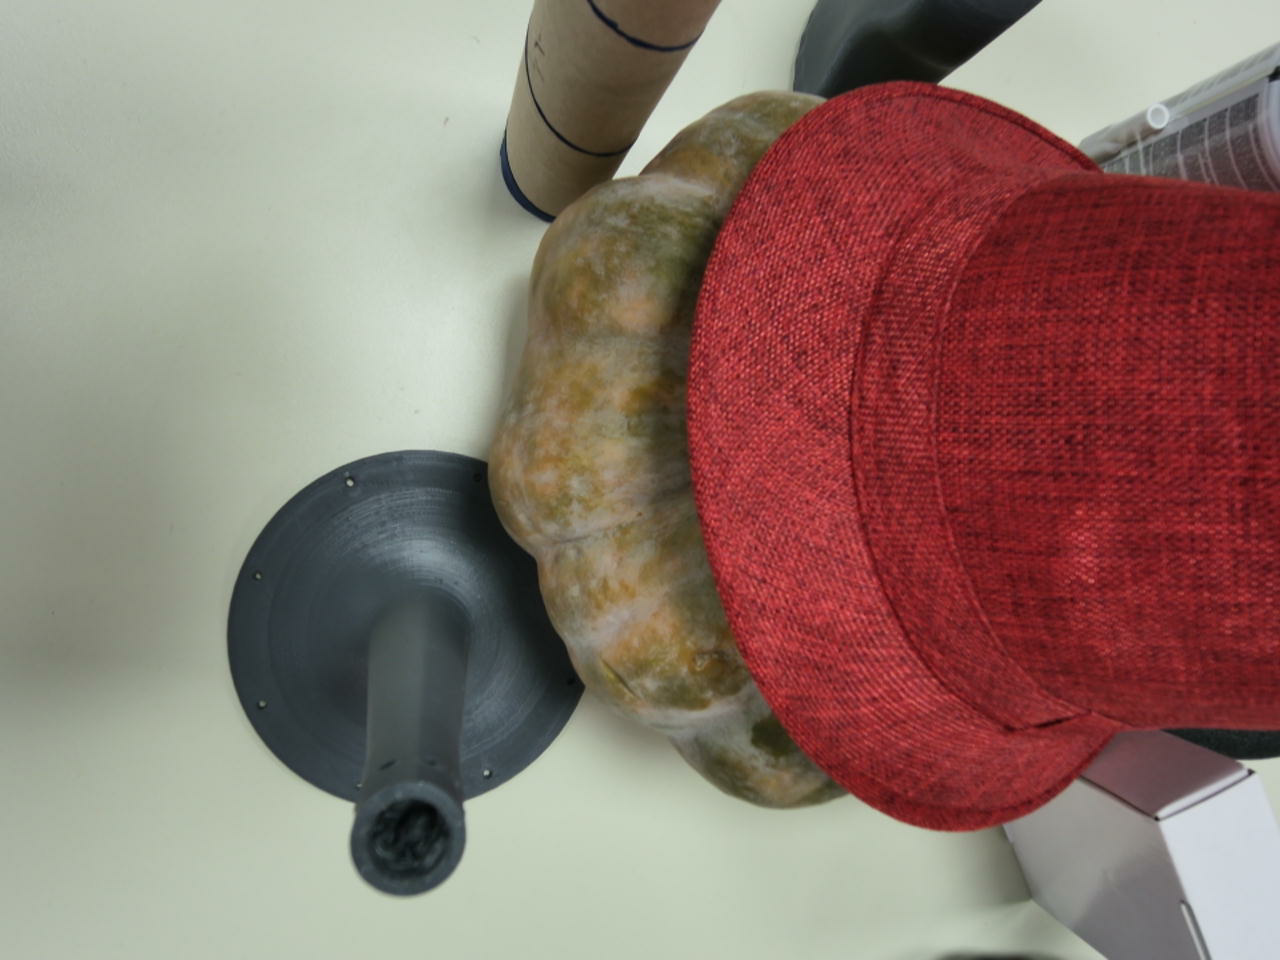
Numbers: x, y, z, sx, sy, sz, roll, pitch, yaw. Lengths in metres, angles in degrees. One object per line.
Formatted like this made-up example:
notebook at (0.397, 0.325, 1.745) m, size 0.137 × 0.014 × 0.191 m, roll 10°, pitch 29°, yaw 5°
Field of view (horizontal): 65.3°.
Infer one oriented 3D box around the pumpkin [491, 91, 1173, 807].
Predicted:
pumpkin at (0.069, -0.018, 0.367) m, size 0.252 × 0.169 × 0.252 m, roll 0°, pitch 91°, yaw -12°
